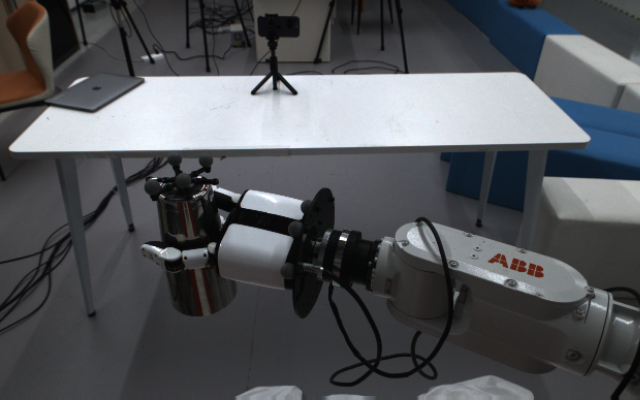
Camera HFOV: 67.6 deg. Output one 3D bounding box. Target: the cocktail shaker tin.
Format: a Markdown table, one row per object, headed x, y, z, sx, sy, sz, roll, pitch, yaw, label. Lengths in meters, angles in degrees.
| x | y | z | sx | sy | sz | roll | pitch | yaw | label |
| --- | --- | --- | --- | --- | --- | --- | --- | --- | --- |
| -0.159 | 0.056 | 0.625 | 0.093 | 0.170 | 0.093 | -1 | 33 | 1 | cocktail shaker tin |
